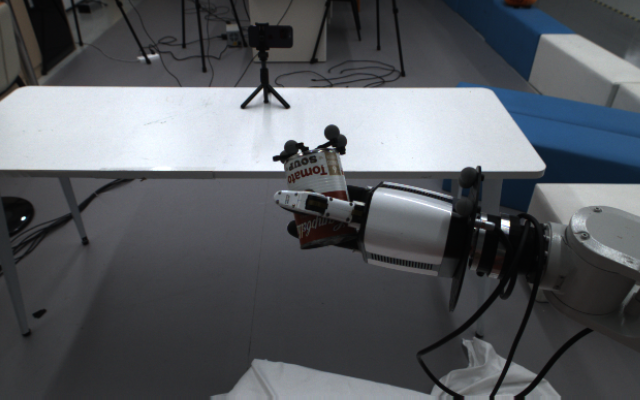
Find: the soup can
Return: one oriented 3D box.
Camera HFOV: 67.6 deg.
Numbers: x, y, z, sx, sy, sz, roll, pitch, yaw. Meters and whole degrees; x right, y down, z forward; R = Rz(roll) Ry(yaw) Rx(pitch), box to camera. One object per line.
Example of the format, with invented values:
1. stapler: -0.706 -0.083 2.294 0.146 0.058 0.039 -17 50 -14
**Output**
1. soup can: 0.002 0.000 0.555 0.067 0.067 0.101 -10 80 -16
